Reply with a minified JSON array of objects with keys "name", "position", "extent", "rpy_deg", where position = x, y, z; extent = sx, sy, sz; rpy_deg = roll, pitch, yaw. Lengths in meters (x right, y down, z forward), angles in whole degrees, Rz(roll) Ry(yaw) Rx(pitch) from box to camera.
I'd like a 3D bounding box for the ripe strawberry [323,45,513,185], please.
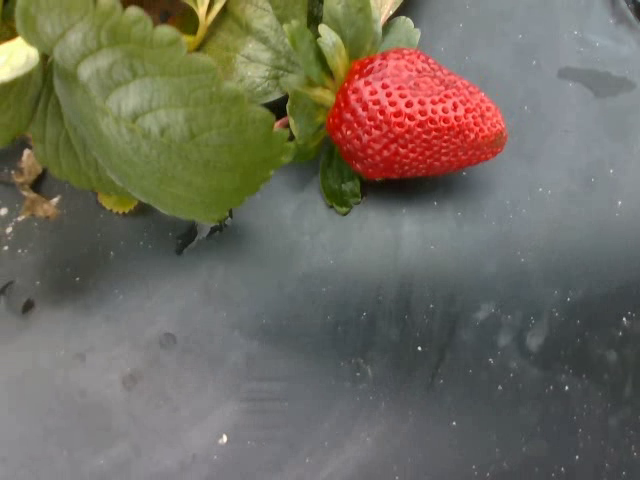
[{"name":"ripe strawberry","position":[0.031,-0.036,0.190],"extent":[0.064,0.046,0.048],"rpy_deg":[24,49,31]}]
